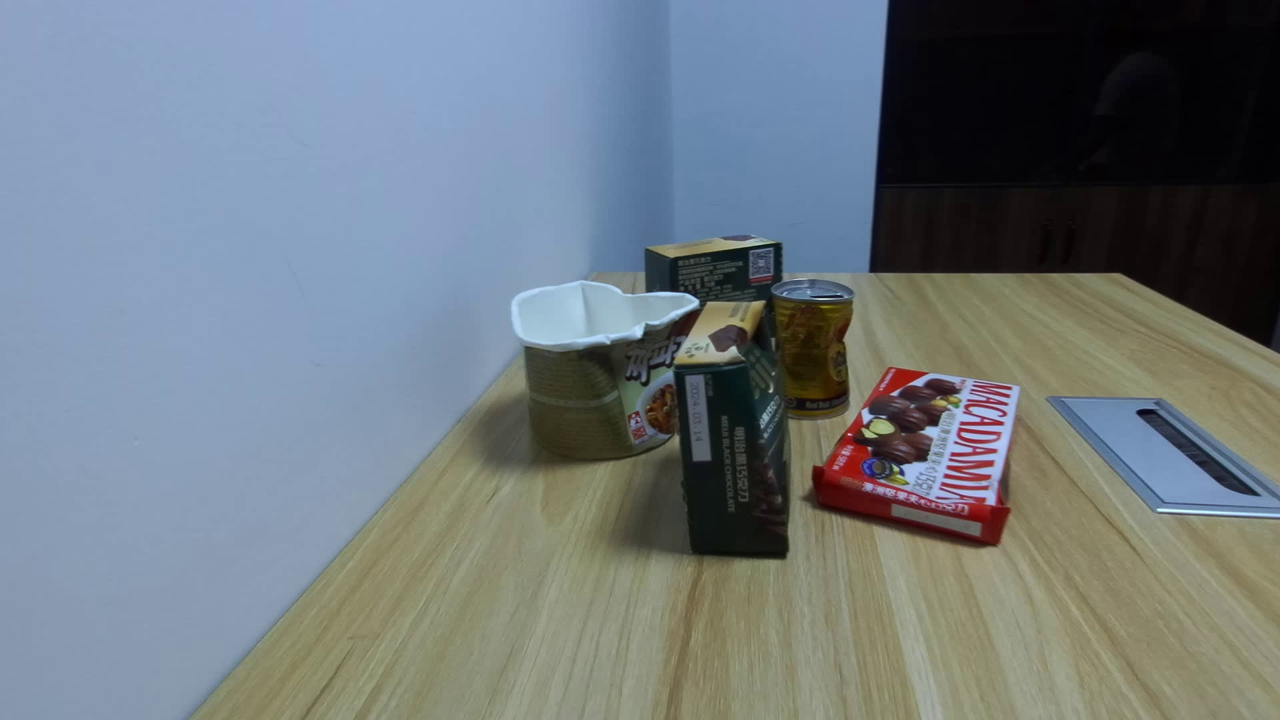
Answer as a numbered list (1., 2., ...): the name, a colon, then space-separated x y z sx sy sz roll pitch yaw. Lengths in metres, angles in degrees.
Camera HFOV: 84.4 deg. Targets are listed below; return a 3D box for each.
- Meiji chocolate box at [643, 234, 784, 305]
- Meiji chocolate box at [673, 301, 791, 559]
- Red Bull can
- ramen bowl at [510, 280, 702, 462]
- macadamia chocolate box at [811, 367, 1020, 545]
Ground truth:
1. Meiji chocolate box: 0.065 -0.049 0.617 0.113 0.111 0.058 -11 22 -22
2. Meiji chocolate box: 0.055 0.032 0.400 0.051 0.117 0.117 -5 19 15
3. Red Bull can: 0.127 -0.009 0.531 0.072 0.092 0.072 -1 20 1
4. ramen bowl: -0.033 0.006 0.500 0.113 0.097 0.134 12 24 29
5. macadamia chocolate box: 0.187 0.052 0.457 0.105 0.028 0.183 10 24 28
